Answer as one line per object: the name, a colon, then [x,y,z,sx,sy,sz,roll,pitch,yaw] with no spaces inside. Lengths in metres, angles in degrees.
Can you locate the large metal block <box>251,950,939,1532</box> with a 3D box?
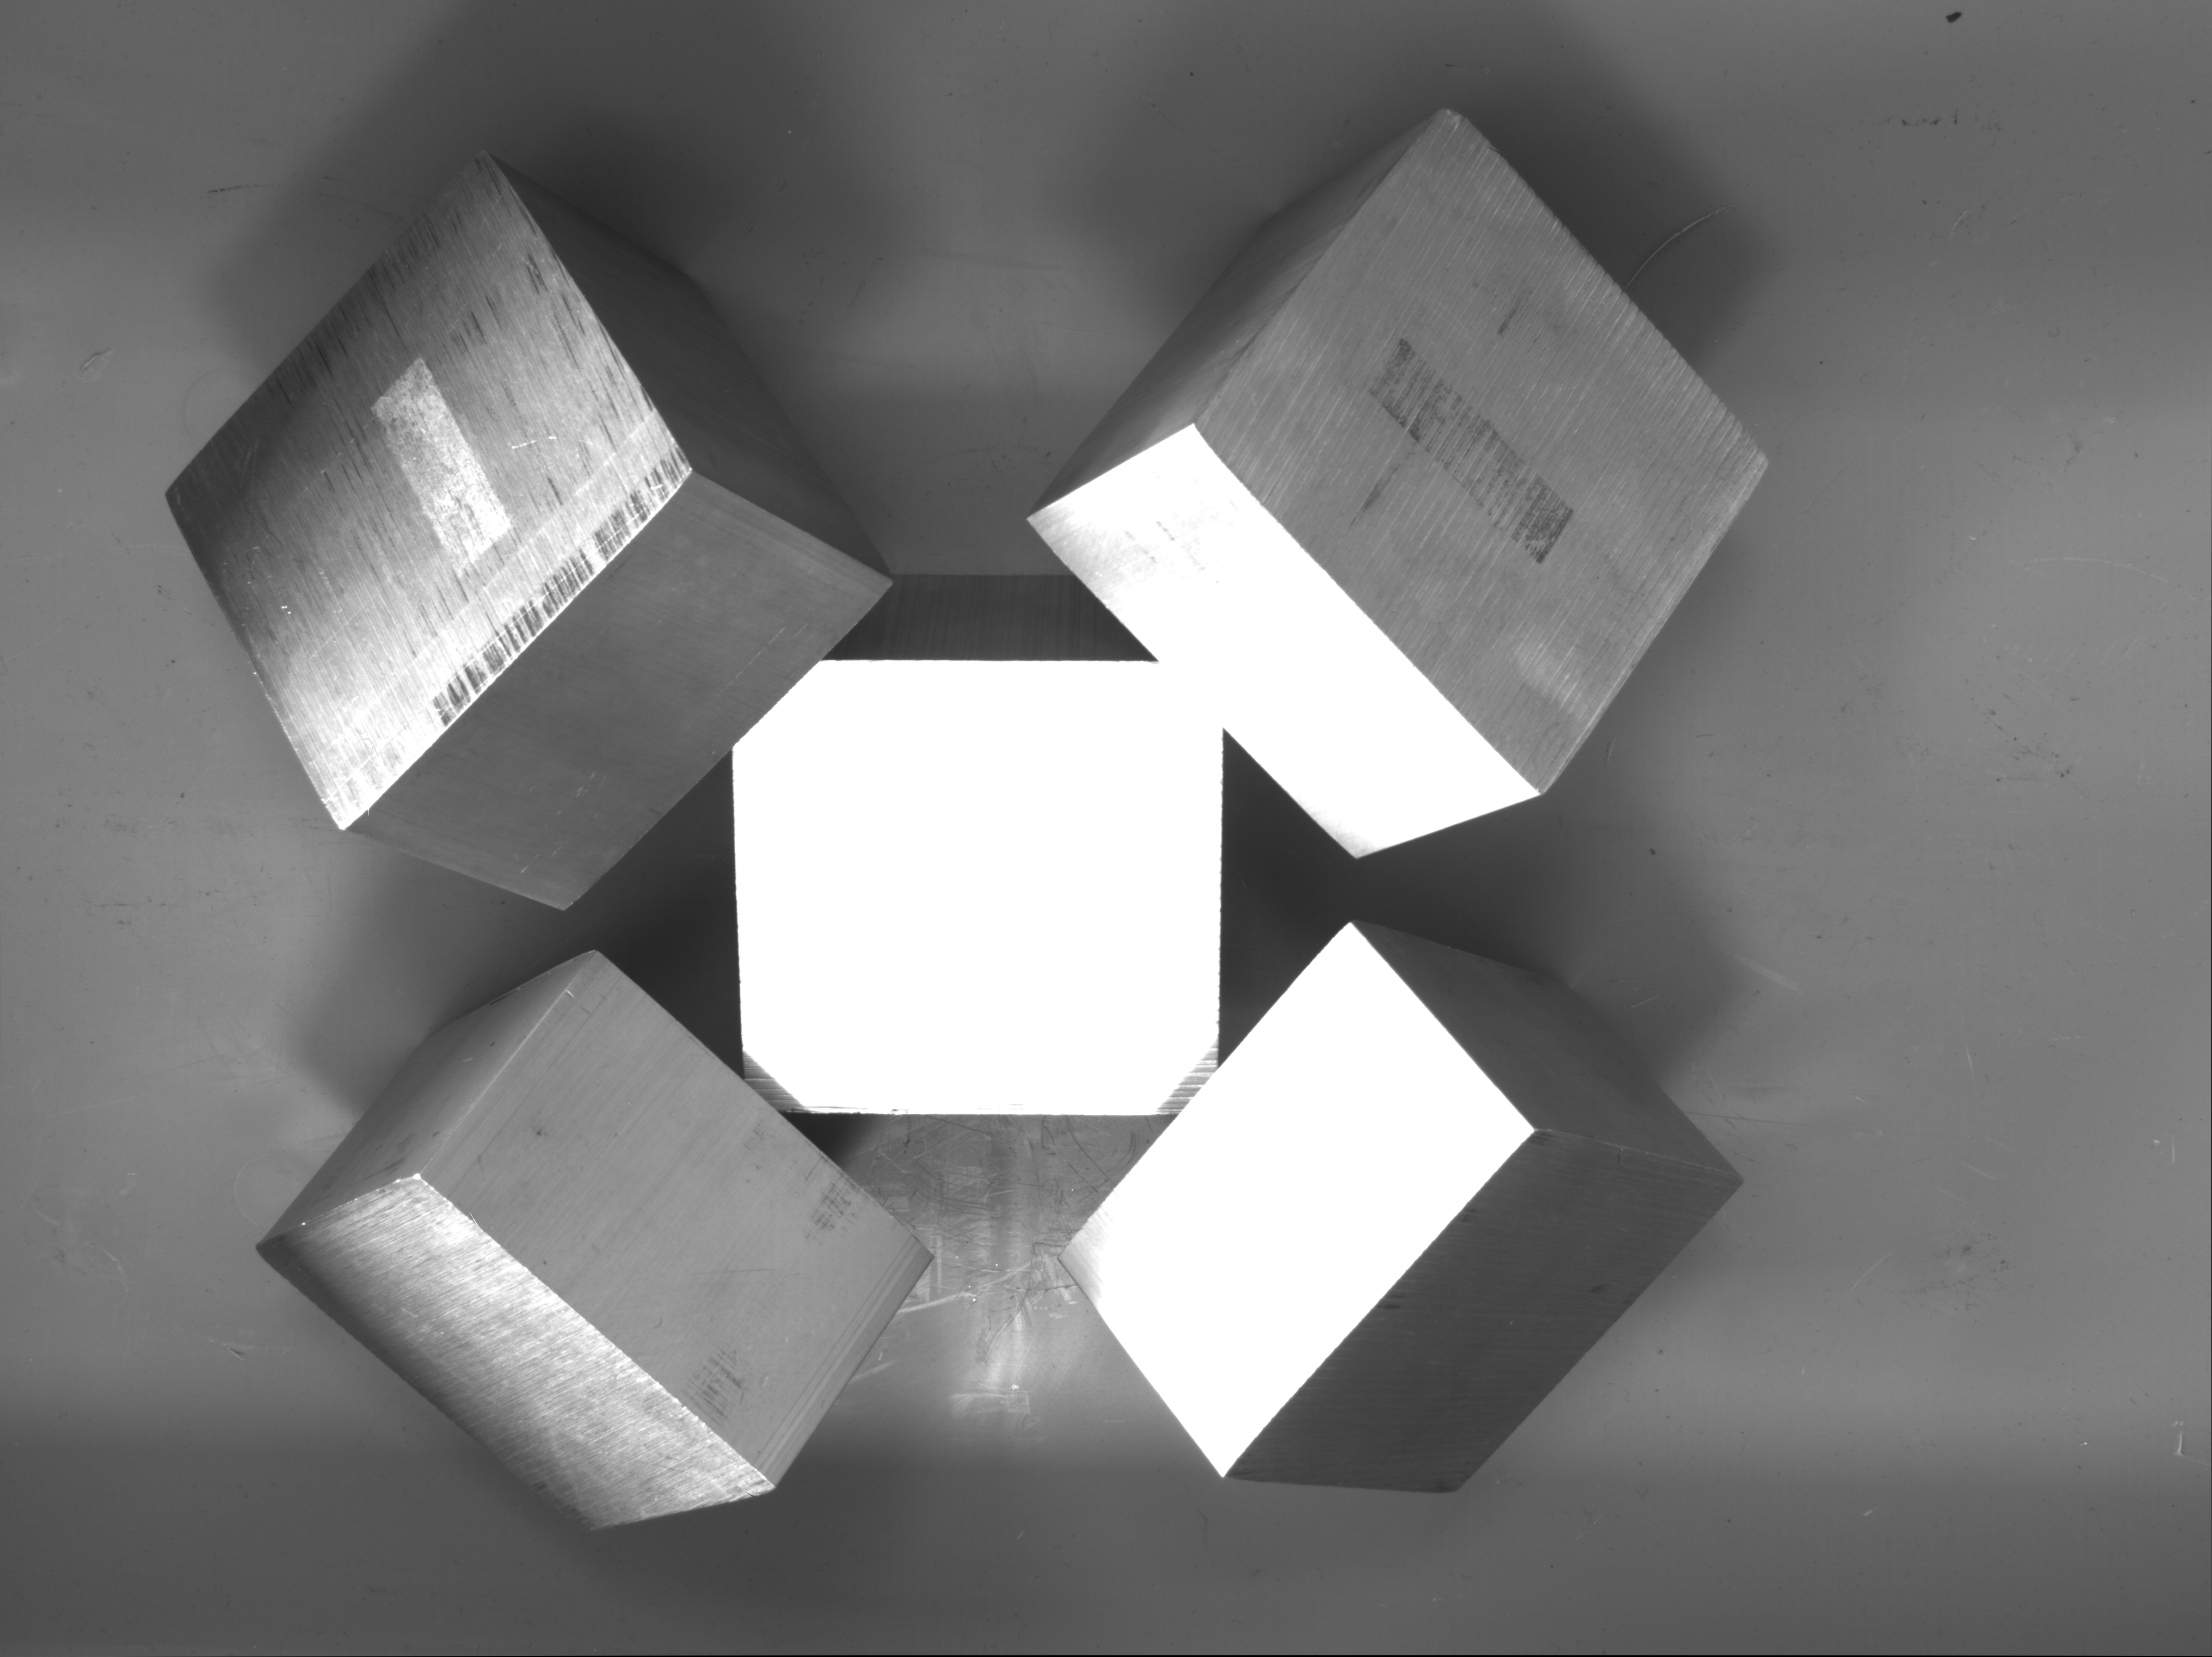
large metal block: [-0.089,0.074,0.634,0.080,0.050,0.080,44,148,-14]

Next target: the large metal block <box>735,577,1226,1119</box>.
large metal block: [-0.021,0.003,0.629,0.080,0.050,0.080,1,110,0]

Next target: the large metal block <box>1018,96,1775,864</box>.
large metal block: [0.047,-0.055,0.587,0.080,0.050,0.080,45,61,-14]

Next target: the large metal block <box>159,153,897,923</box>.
large metal block: [-0.094,-0.046,0.587,0.080,0.080,0.050,-44,148,14]

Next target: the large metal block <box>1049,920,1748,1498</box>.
large metal block: [0.051,0.068,0.631,0.080,0.050,0.080,-50,148,15]
